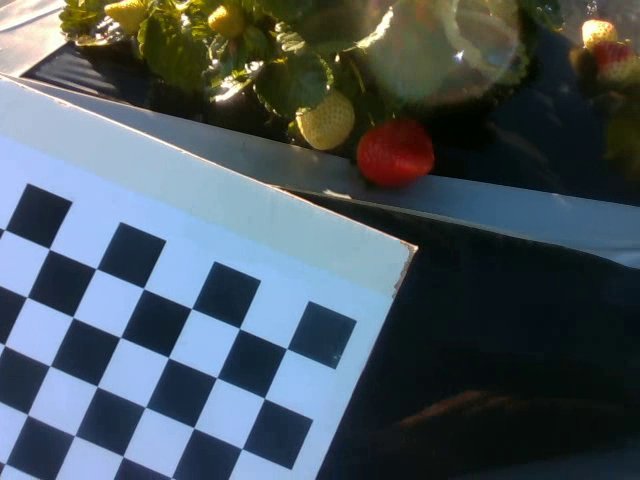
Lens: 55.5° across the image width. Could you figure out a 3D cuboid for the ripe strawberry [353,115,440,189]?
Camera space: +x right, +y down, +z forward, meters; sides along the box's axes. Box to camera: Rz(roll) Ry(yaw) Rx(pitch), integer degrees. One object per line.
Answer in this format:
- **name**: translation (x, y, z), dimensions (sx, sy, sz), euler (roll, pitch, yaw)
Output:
- **ripe strawberry**: translation (0.043, -0.046, 0.328), dimensions (0.048, 0.045, 0.063), euler (46, 3, -23)
